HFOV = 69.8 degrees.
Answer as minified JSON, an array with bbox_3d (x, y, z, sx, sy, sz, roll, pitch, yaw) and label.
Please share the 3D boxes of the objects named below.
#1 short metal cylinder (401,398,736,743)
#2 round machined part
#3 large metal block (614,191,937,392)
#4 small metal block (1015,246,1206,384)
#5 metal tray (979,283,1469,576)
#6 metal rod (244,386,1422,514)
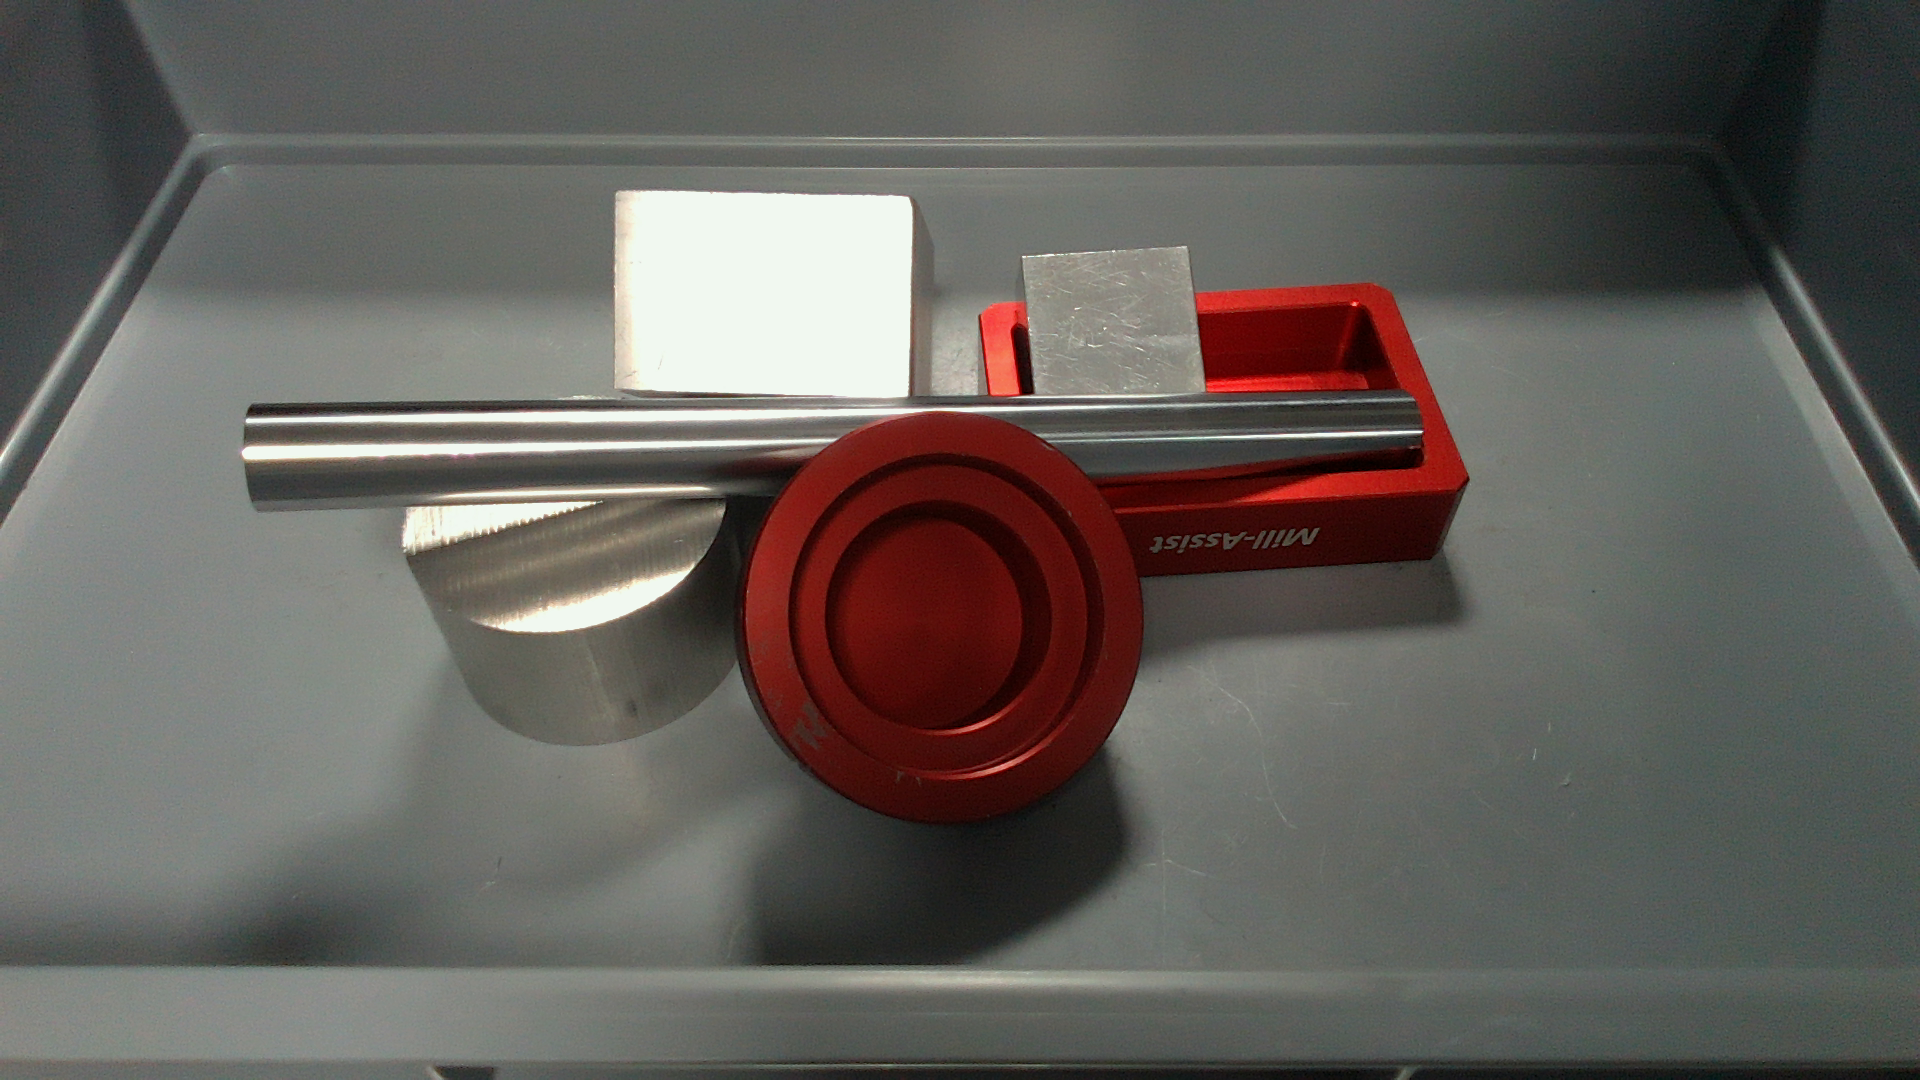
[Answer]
[{"bbox_3d":[-0.100,0.007,0.367,0.080,0.050,0.080,0,50,0],"label":"short metal cylinder"},{"bbox_3d":[-0.007,0.019,0.342,0.098,0.042,0.098,2,83,-14],"label":"round machined part"},{"bbox_3d":[-0.049,-0.068,0.401,0.080,0.080,0.050,1,92,3],"label":"large metal block"},{"bbox_3d":[0.044,-0.058,0.411,0.050,0.025,0.050,-4,76,-3],"label":"small metal block"},{"bbox_3d":[0.074,-0.034,0.415,0.130,0.030,0.090,-4,50,-3],"label":"metal tray"},{"bbox_3d":[-0.017,-0.025,0.357,0.301,0.025,0.025,-3,49,-16],"label":"metal rod"}]
